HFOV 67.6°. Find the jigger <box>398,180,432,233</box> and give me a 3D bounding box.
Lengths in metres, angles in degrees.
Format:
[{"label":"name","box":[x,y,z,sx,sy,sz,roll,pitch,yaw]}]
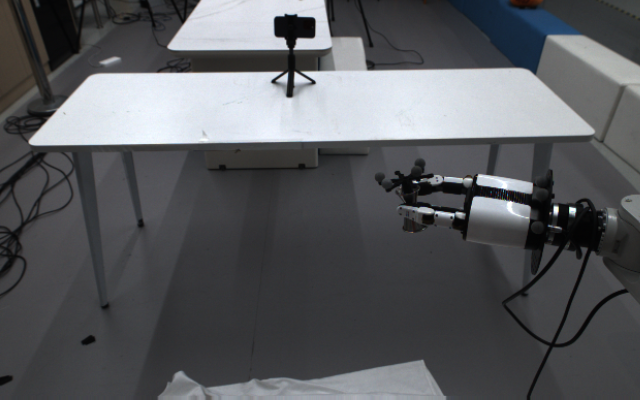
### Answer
[{"label":"jigger","box":[0.149,0.013,0.783,0.043,0.071,0.043,-14,21,6]}]
